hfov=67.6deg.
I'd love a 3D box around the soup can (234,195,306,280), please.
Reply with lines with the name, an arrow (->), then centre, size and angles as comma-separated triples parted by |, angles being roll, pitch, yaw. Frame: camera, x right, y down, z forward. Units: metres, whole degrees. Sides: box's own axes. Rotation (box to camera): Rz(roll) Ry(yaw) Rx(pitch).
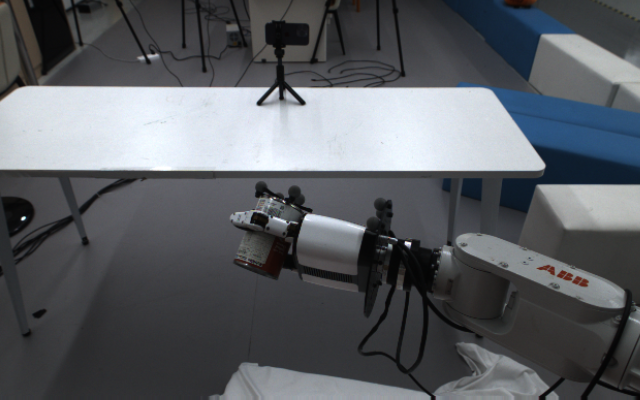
soup can -> -0.071, 0.053, 0.676 | 0.067, 0.067, 0.101 | 16, 75, 19
